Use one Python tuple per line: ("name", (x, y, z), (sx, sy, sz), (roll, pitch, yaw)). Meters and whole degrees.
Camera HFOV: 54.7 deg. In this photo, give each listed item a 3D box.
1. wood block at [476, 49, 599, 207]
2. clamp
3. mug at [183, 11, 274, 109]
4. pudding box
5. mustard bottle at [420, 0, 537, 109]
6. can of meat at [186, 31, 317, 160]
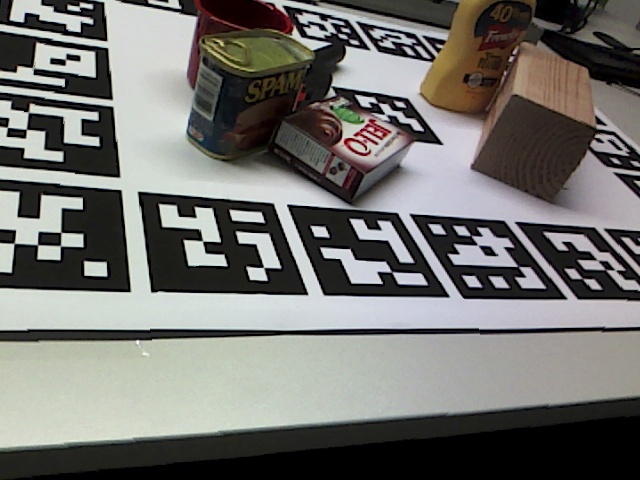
("wood block", (0.244, -0.134, 0.694), (0.090, 0.091, 0.206), (25, 35, 7))
("clamp", (-0.025, -0.193, 0.681), (0.121, 0.036, 0.165), (16, 39, -9))
("mug", (-0.088, -0.174, 0.619), (0.093, 0.081, 0.117), (17, 39, -6))
("pudding box", (0.027, -0.083, 0.562), (0.090, 0.038, 0.113), (34, 37, 15))
("mustard bottle", (0.195, -0.247, 0.716), (0.096, 0.191, 0.059), (-2, 44, -27))
("can of meat", (-0.060, -0.122, 0.522), (0.058, 0.084, 0.101), (41, 41, 22))
